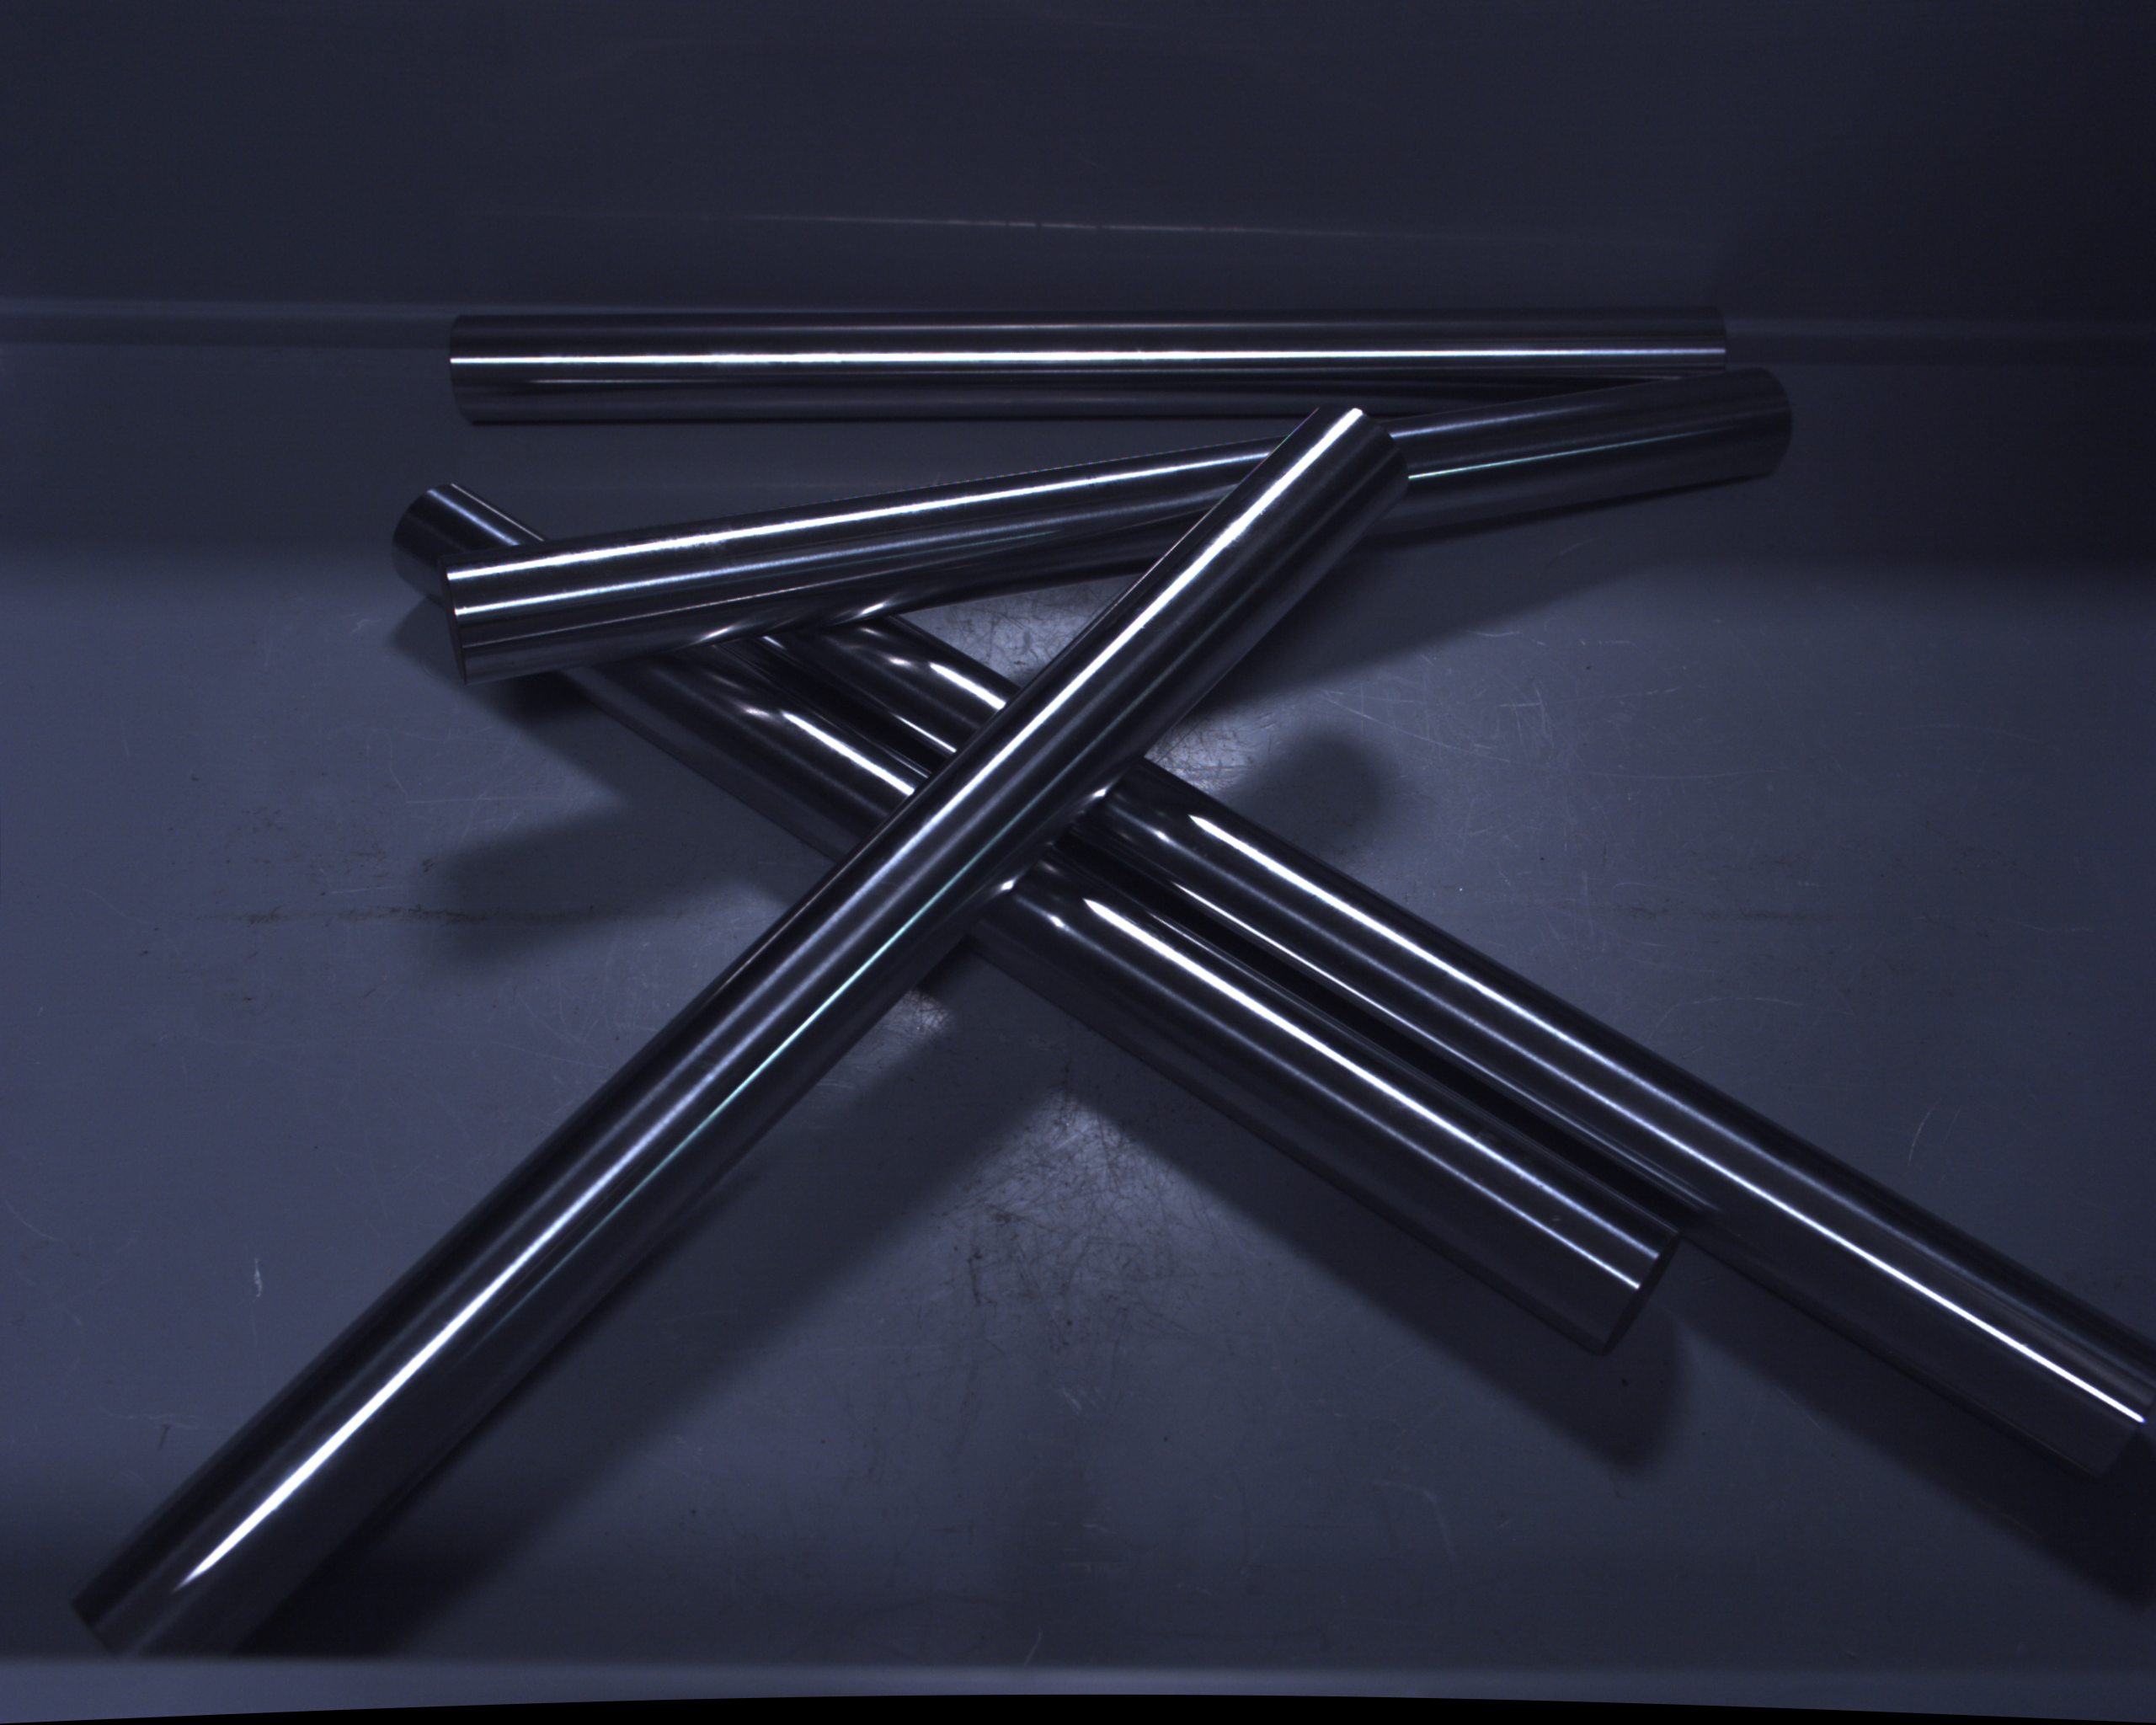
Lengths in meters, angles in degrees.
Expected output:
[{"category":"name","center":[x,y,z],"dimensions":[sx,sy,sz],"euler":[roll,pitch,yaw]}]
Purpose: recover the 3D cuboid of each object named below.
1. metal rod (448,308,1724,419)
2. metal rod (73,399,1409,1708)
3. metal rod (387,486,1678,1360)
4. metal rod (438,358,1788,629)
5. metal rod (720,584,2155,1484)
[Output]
[{"category":"metal rod","center":[0.003,-0.121,0.506],"dimensions":[0.302,0.025,0.025],"euler":[-1,50,-1]},{"category":"metal rod","center":[-0.041,0.016,0.363],"dimensions":[0.025,0.025,0.301],"euler":[34,65,24]},{"category":"metal rod","center":[-0.025,0.000,0.404],"dimensions":[0.300,0.025,0.025],"euler":[31,57,23]},{"category":"metal rod","center":[0.019,-0.083,0.454],"dimensions":[0.302,0.025,0.025],"euler":[-10,51,-17]},{"category":"metal rod","center":[0.050,0.017,0.391],"dimensions":[0.300,0.025,0.025],"euler":[31,57,23]}]
